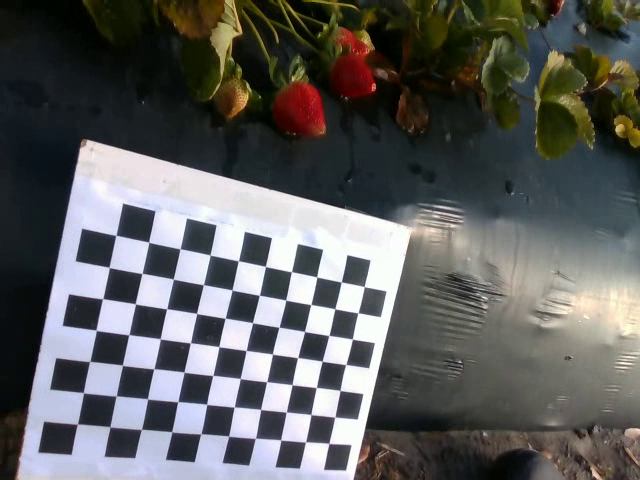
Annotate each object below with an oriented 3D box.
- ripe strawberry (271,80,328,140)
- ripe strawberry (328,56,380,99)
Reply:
[{"bbox_3d":[-0.013,-0.111,0.555,0.050,0.050,0.065,-29,52,-16],"label":"ripe strawberry"},{"bbox_3d":[0.034,-0.153,0.614,0.055,0.044,0.042,34,-9,28],"label":"ripe strawberry"}]
